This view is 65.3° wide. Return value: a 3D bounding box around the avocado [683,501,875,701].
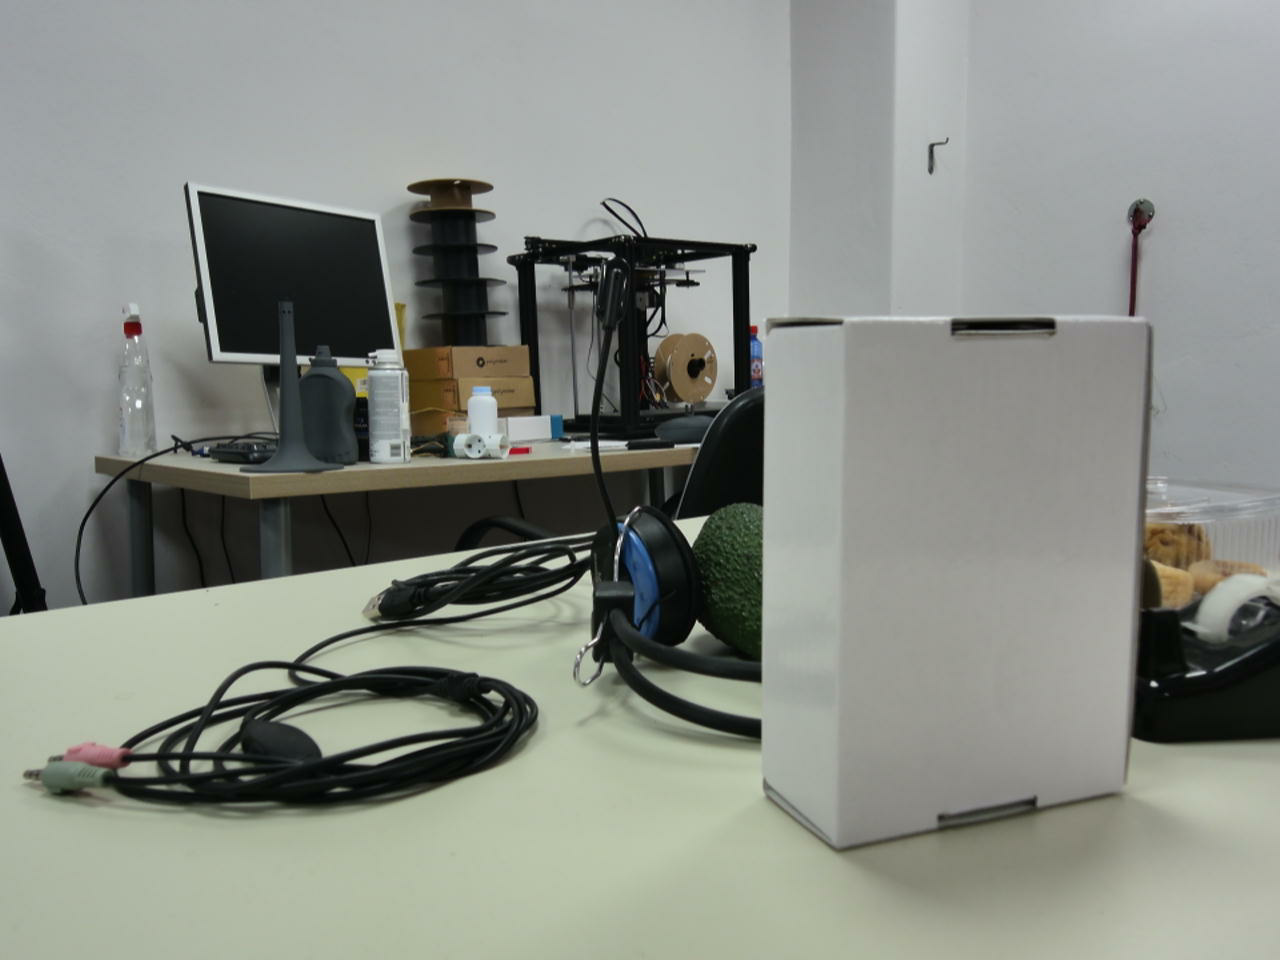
[{"bbox_3d":[0.064,0.047,0.439,0.063,0.067,0.141,-1,3,-25],"label":"avocado"}]
